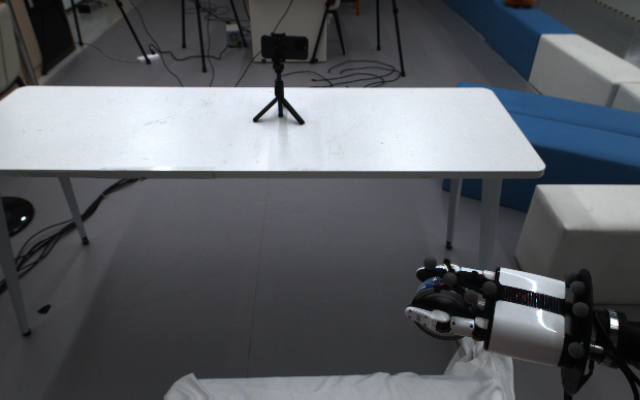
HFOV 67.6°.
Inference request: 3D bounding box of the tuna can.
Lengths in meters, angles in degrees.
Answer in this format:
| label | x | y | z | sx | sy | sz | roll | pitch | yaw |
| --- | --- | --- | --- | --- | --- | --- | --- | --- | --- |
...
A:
| label | x | y | z | sx | sy | sz | roll | pitch | yaw |
| --- | --- | --- | --- | --- | --- | --- | --- | --- | --- |
| tuna can | 0.173 | 0.145 | 0.661 | 0.085 | 0.085 | 0.034 | 16 | 28 | 19 |
